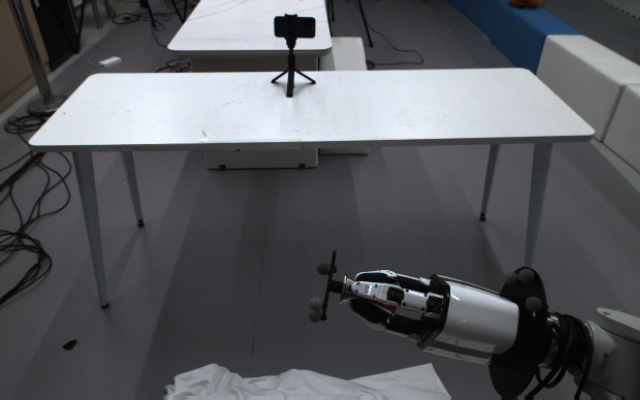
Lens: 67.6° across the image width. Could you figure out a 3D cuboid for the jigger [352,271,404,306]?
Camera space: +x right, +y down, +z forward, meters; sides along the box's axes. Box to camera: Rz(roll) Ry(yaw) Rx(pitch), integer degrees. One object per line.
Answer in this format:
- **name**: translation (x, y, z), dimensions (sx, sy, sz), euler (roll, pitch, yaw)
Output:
- **jigger**: translation (0.068, 0.113, 0.604), dimensions (0.071, 0.043, 0.043), euler (11, 35, 3)
